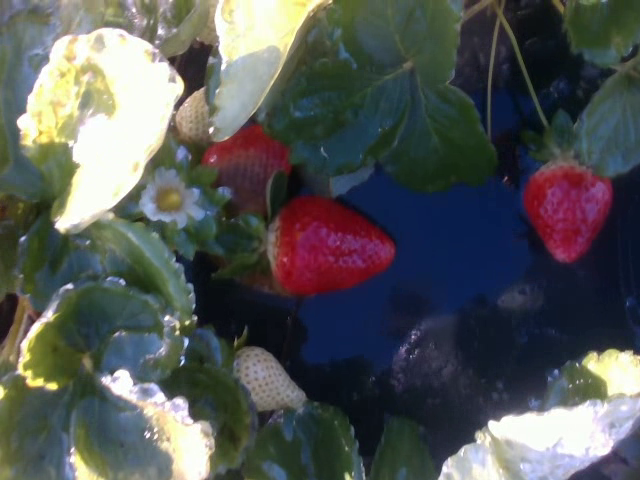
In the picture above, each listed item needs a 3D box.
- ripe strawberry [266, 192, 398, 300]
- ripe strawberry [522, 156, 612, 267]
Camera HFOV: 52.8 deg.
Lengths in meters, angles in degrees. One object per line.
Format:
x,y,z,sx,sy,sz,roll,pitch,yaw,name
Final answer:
0.008,0.007,0.260,0.056,0.044,0.040,9,16,-11,ripe strawberry
0.100,-0.010,0.253,0.039,0.047,0.040,-1,7,-8,ripe strawberry
